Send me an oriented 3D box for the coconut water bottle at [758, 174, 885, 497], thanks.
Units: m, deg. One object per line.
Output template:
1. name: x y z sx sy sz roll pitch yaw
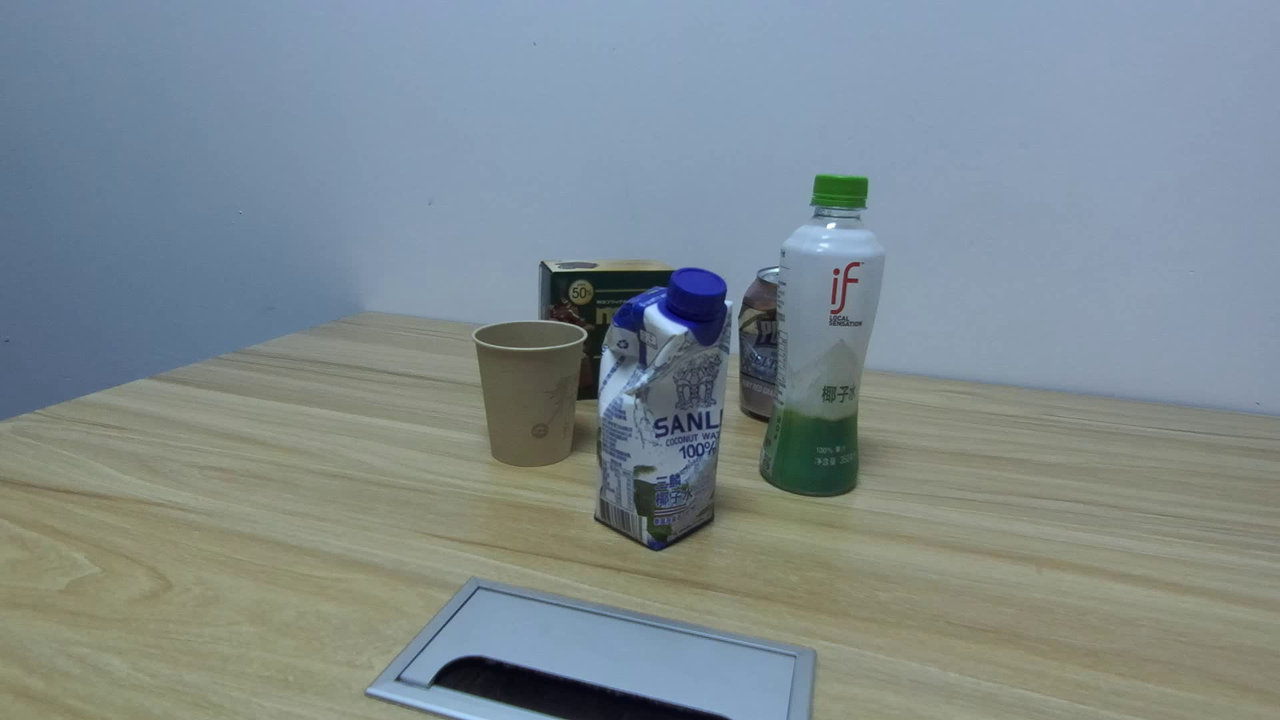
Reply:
1. coconut water bottle: 0.113 -0.014 0.430 0.063 0.188 0.063 3 15 0

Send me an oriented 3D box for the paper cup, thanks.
1. paper cup: -0.072 0.022 0.472 0.075 0.082 0.075 2 15 0

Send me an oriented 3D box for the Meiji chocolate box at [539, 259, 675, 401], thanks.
1. Meiji chocolate box: -0.027 -0.026 0.596 0.110 0.109 0.056 -3 18 -19

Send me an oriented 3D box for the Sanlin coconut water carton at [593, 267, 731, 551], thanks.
1. Sanlin coconut water carton: 0.010 0.022 0.373 0.069 0.143 0.061 18 24 41
